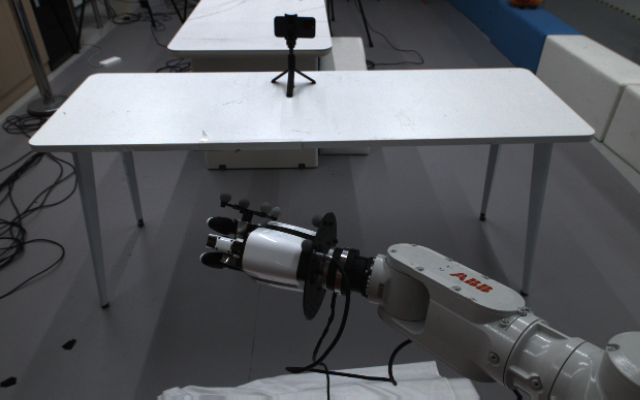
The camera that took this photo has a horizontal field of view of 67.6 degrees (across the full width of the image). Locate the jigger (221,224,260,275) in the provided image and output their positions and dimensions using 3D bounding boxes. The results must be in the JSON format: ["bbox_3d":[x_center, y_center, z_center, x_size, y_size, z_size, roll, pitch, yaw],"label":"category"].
[{"bbox_3d":[-0.120,0.066,0.738,0.043,0.071,0.043,15,-7,2],"label":"jigger"}]
